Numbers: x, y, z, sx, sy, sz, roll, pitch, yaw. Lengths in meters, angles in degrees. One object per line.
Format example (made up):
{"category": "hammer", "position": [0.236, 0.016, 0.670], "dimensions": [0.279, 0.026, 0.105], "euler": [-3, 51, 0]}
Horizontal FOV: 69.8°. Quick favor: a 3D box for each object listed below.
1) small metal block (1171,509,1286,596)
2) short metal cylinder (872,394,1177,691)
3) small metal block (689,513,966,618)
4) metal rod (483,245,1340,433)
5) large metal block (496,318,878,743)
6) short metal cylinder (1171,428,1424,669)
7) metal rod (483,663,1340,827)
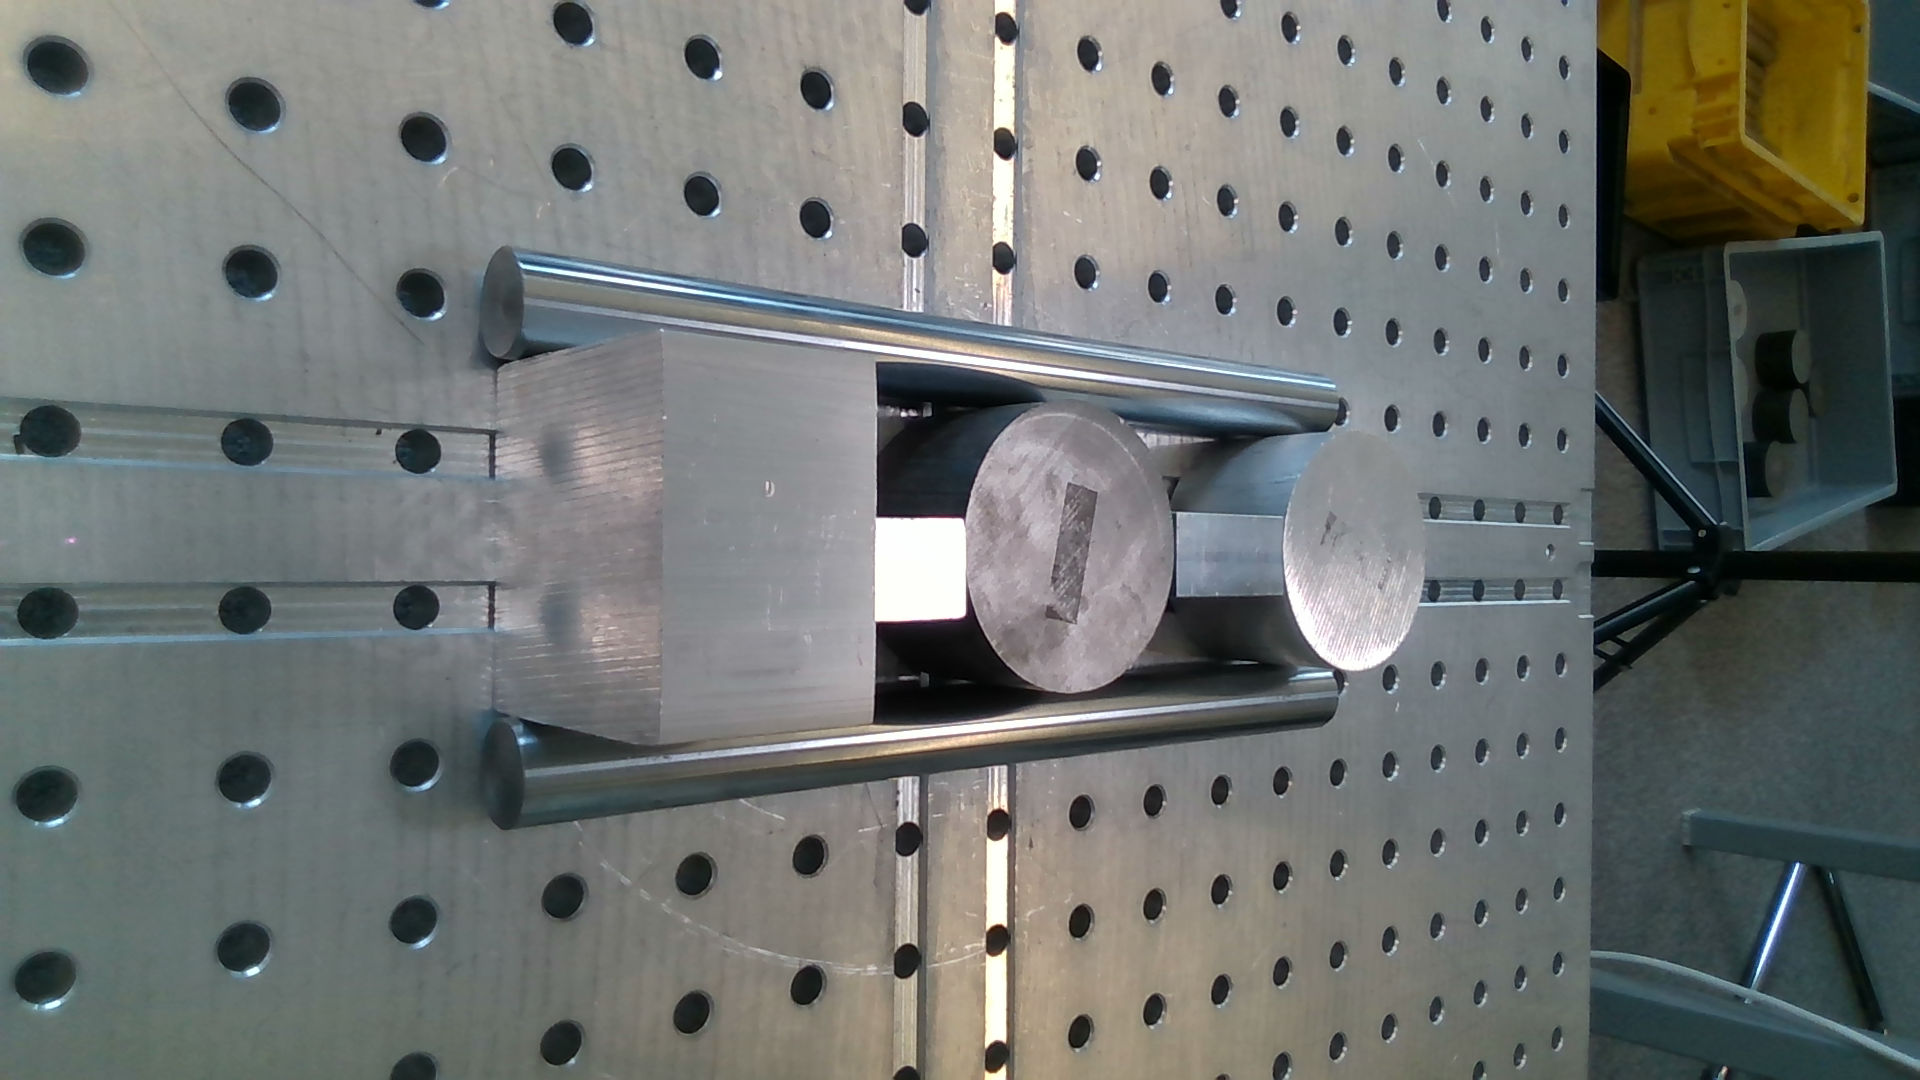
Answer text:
{"category": "small metal block", "position": [0.066, 0.004, 0.433], "dimensions": [0.050, 0.050, 0.025], "euler": [1, 89, -40]}
{"category": "short metal cylinder", "position": [0.016, 0.001, 0.391], "dimensions": [0.080, 0.050, 0.080], "euler": [0, 90, -40]}
{"category": "small metal block", "position": [-0.034, 0.006, 0.348], "dimensions": [0.050, 0.050, 0.025], "euler": [0, 90, -40]}
{"category": "metal rod", "position": [0.013, -0.051, 0.404], "dimensions": [0.300, 0.025, 0.025], "euler": [1, 89, -40]}
{"category": "large metal block", "position": [-0.063, -0.001, 0.306], "dimensions": [0.050, 0.080, 0.080], "euler": [1, 89, -40]}
{"category": "short metal cylinder", "position": [0.116, 0.003, 0.475], "dimensions": [0.080, 0.050, 0.080], "euler": [0, 90, -40]}
{"category": "metal rod", "position": [0.013, 0.054, 0.404], "dimensions": [0.300, 0.025, 0.025], "euler": [1, 89, -40]}
